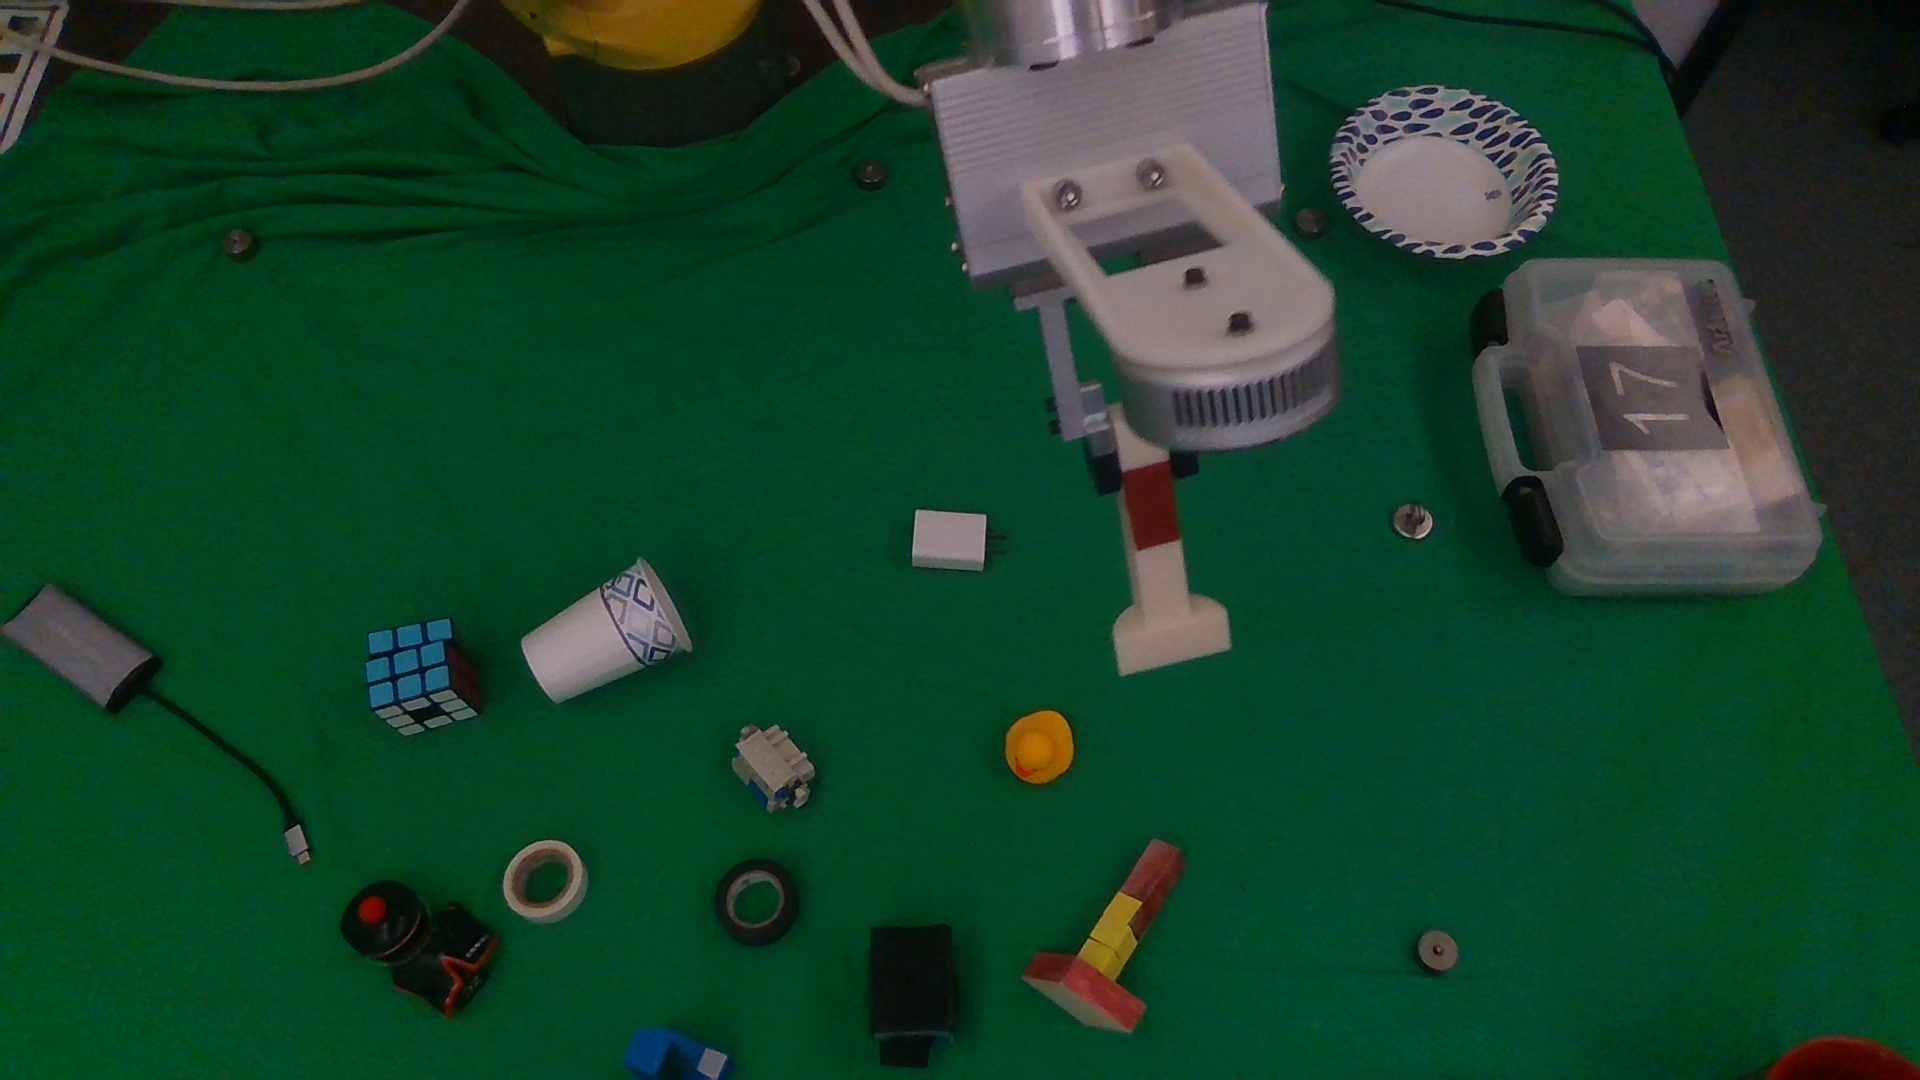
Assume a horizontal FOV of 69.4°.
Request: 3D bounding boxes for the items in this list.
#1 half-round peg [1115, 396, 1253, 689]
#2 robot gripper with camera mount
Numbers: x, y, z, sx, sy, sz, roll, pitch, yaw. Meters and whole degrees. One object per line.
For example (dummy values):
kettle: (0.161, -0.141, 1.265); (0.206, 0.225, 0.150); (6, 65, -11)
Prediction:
half-round peg: (0.083, -0.001, 0.550); (0.054, 0.122, 0.031); (-20, 34, -11)
robot gripper with camera mount: (0.077, -0.068, 0.441); (0.119, 0.158, 0.193); (-14, 28, -3)
